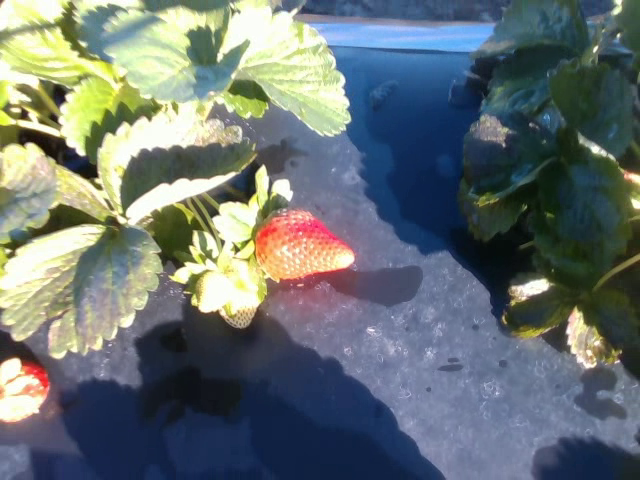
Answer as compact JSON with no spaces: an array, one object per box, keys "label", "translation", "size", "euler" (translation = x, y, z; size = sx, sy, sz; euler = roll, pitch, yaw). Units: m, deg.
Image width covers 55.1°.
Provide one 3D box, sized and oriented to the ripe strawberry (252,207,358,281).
[{"label":"ripe strawberry","translation":[-0.006,0.004,0.337],"size":[0.064,0.050,0.052],"euler":[12,8,23]}]
